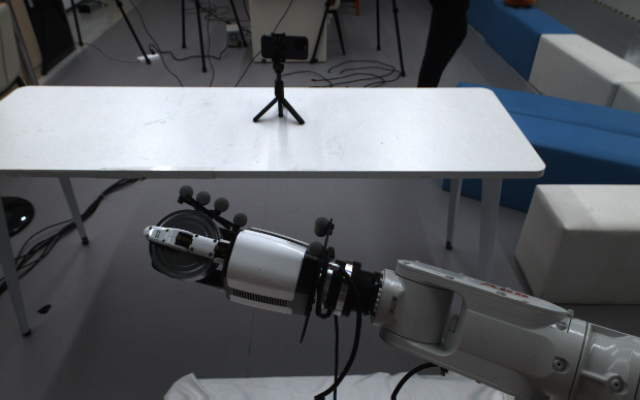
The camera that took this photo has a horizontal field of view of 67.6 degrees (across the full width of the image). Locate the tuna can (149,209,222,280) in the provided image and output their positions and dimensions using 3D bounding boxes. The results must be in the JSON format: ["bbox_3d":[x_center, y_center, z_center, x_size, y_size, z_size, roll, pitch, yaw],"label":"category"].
[{"bbox_3d":[-0.160,0.056,0.595,0.085,0.034,0.085,0,72,0],"label":"tuna can"}]
